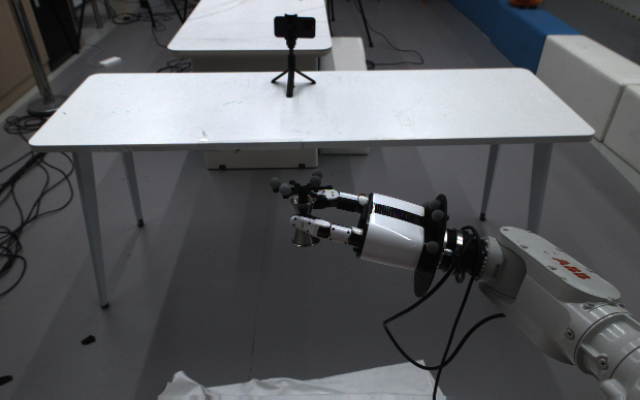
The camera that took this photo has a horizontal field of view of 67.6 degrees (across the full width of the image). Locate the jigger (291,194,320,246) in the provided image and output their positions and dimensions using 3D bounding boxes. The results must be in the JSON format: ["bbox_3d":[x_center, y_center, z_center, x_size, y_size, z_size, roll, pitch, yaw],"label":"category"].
[{"bbox_3d":[-0.023,0.030,0.732,0.043,0.071,0.043,-2,19,1],"label":"jigger"}]
